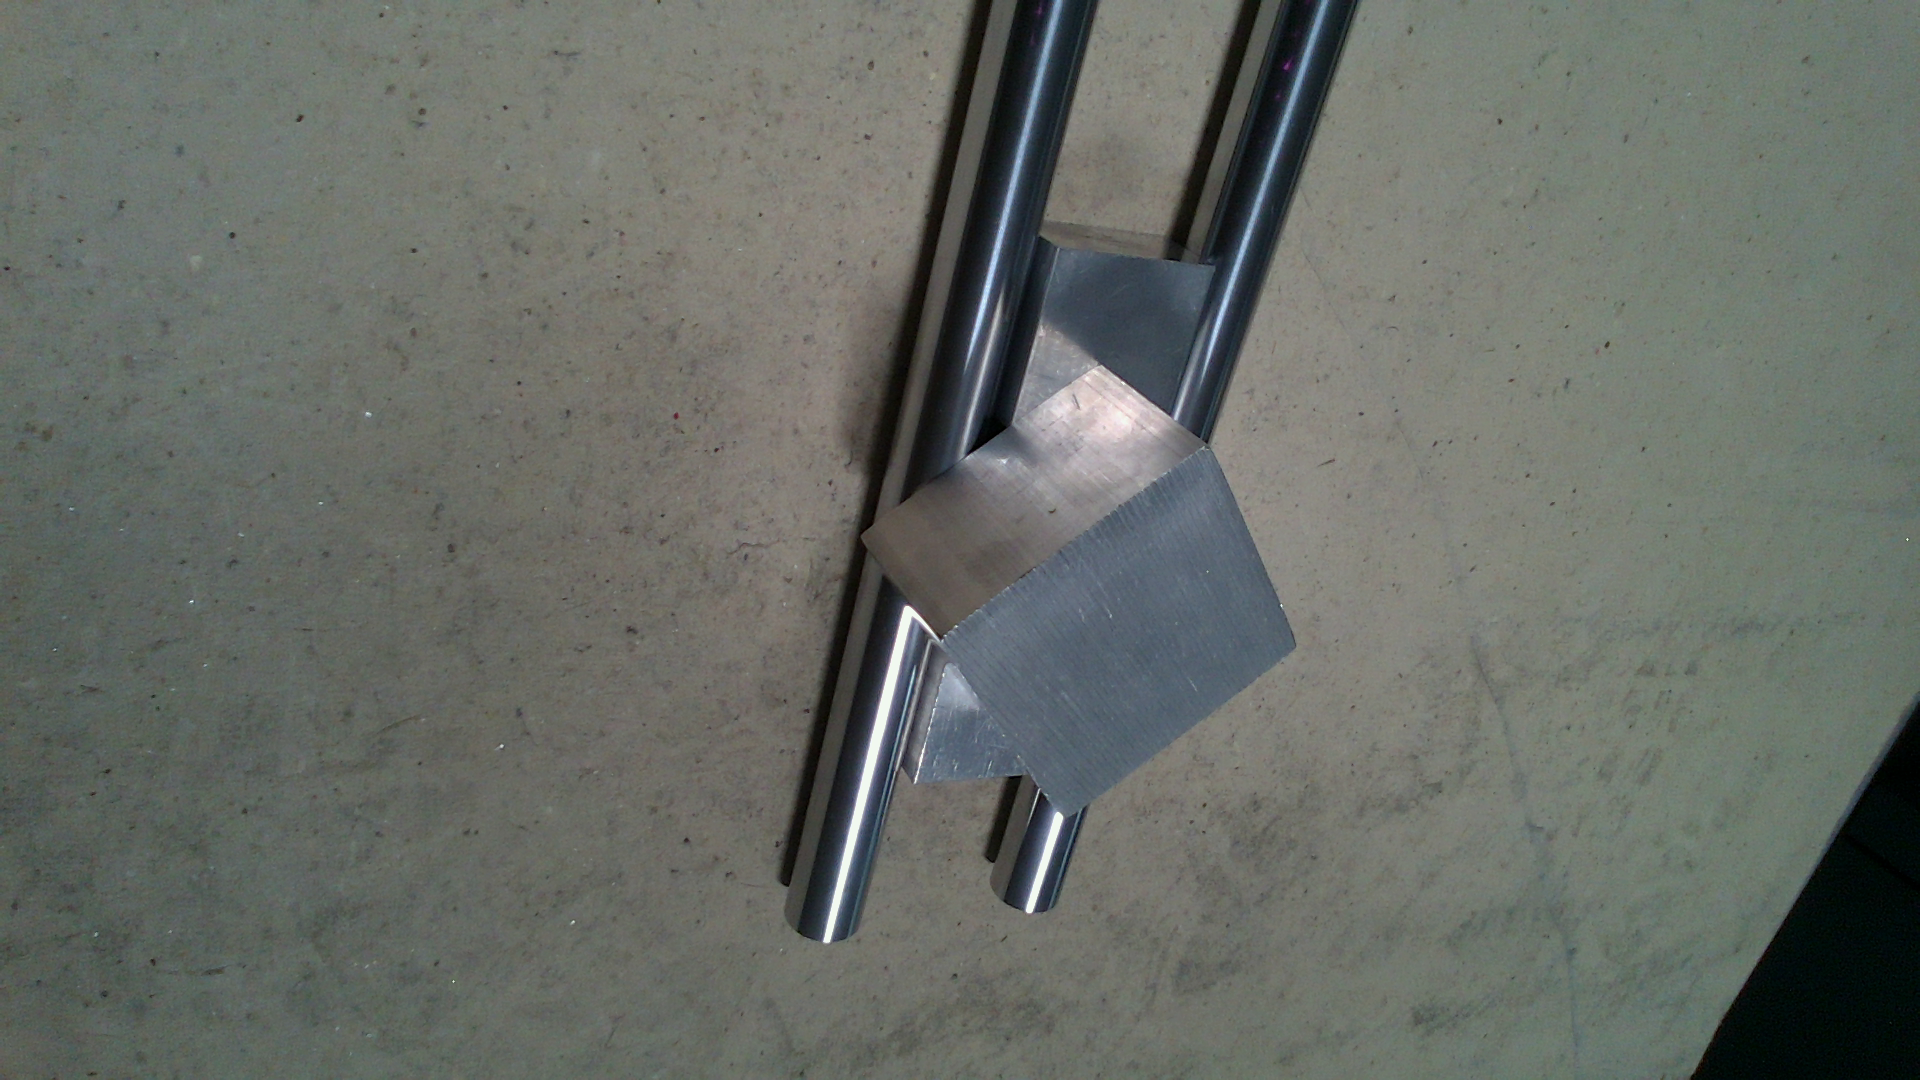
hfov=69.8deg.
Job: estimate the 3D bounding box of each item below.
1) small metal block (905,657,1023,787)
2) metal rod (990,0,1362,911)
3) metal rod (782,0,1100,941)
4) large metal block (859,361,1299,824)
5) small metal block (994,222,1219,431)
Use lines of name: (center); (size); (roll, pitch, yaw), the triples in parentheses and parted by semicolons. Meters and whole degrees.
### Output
small metal block: (0.009, 0.046, 0.421); (0.050, 0.025, 0.050); (1, 118, -29)
metal rod: (0.057, -0.012, 0.413); (0.025, 0.025, 0.300); (0, 118, -28)
metal rod: (-0.010, -0.013, 0.377); (0.025, 0.025, 0.300); (0, 118, -28)
large metal block: (0.033, 0.014, 0.365); (0.080, 0.050, 0.080); (-36, 129, -5)
small metal block: (0.036, -0.056, 0.373); (0.050, 0.025, 0.050); (1, 118, -29)
